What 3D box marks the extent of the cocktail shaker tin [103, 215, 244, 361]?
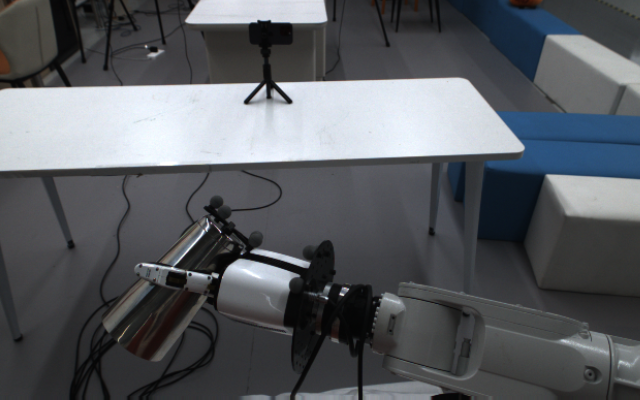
[{"bbox_3d":[-0.174,0.102,0.606,0.170,0.093,0.093,-48,49,-3],"label":"cocktail shaker tin"}]
